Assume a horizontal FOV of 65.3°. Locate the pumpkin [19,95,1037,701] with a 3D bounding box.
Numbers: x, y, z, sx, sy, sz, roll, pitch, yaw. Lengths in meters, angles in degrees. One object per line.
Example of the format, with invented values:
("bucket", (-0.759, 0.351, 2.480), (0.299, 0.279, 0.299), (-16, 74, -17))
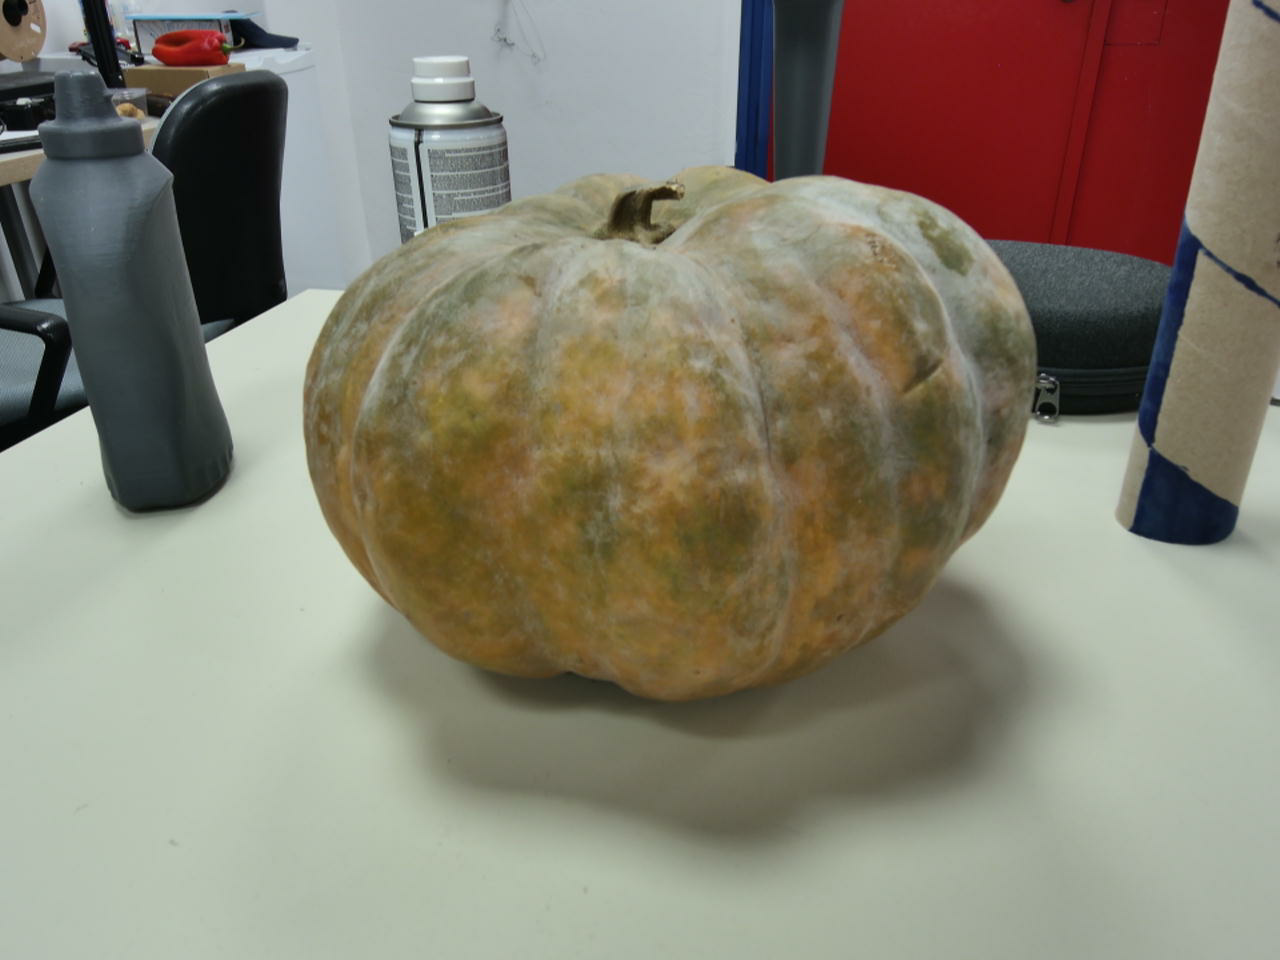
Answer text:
("pumpkin", (0.003, -0.027, 0.369), (0.252, 0.169, 0.251), (0, 24, 0))
